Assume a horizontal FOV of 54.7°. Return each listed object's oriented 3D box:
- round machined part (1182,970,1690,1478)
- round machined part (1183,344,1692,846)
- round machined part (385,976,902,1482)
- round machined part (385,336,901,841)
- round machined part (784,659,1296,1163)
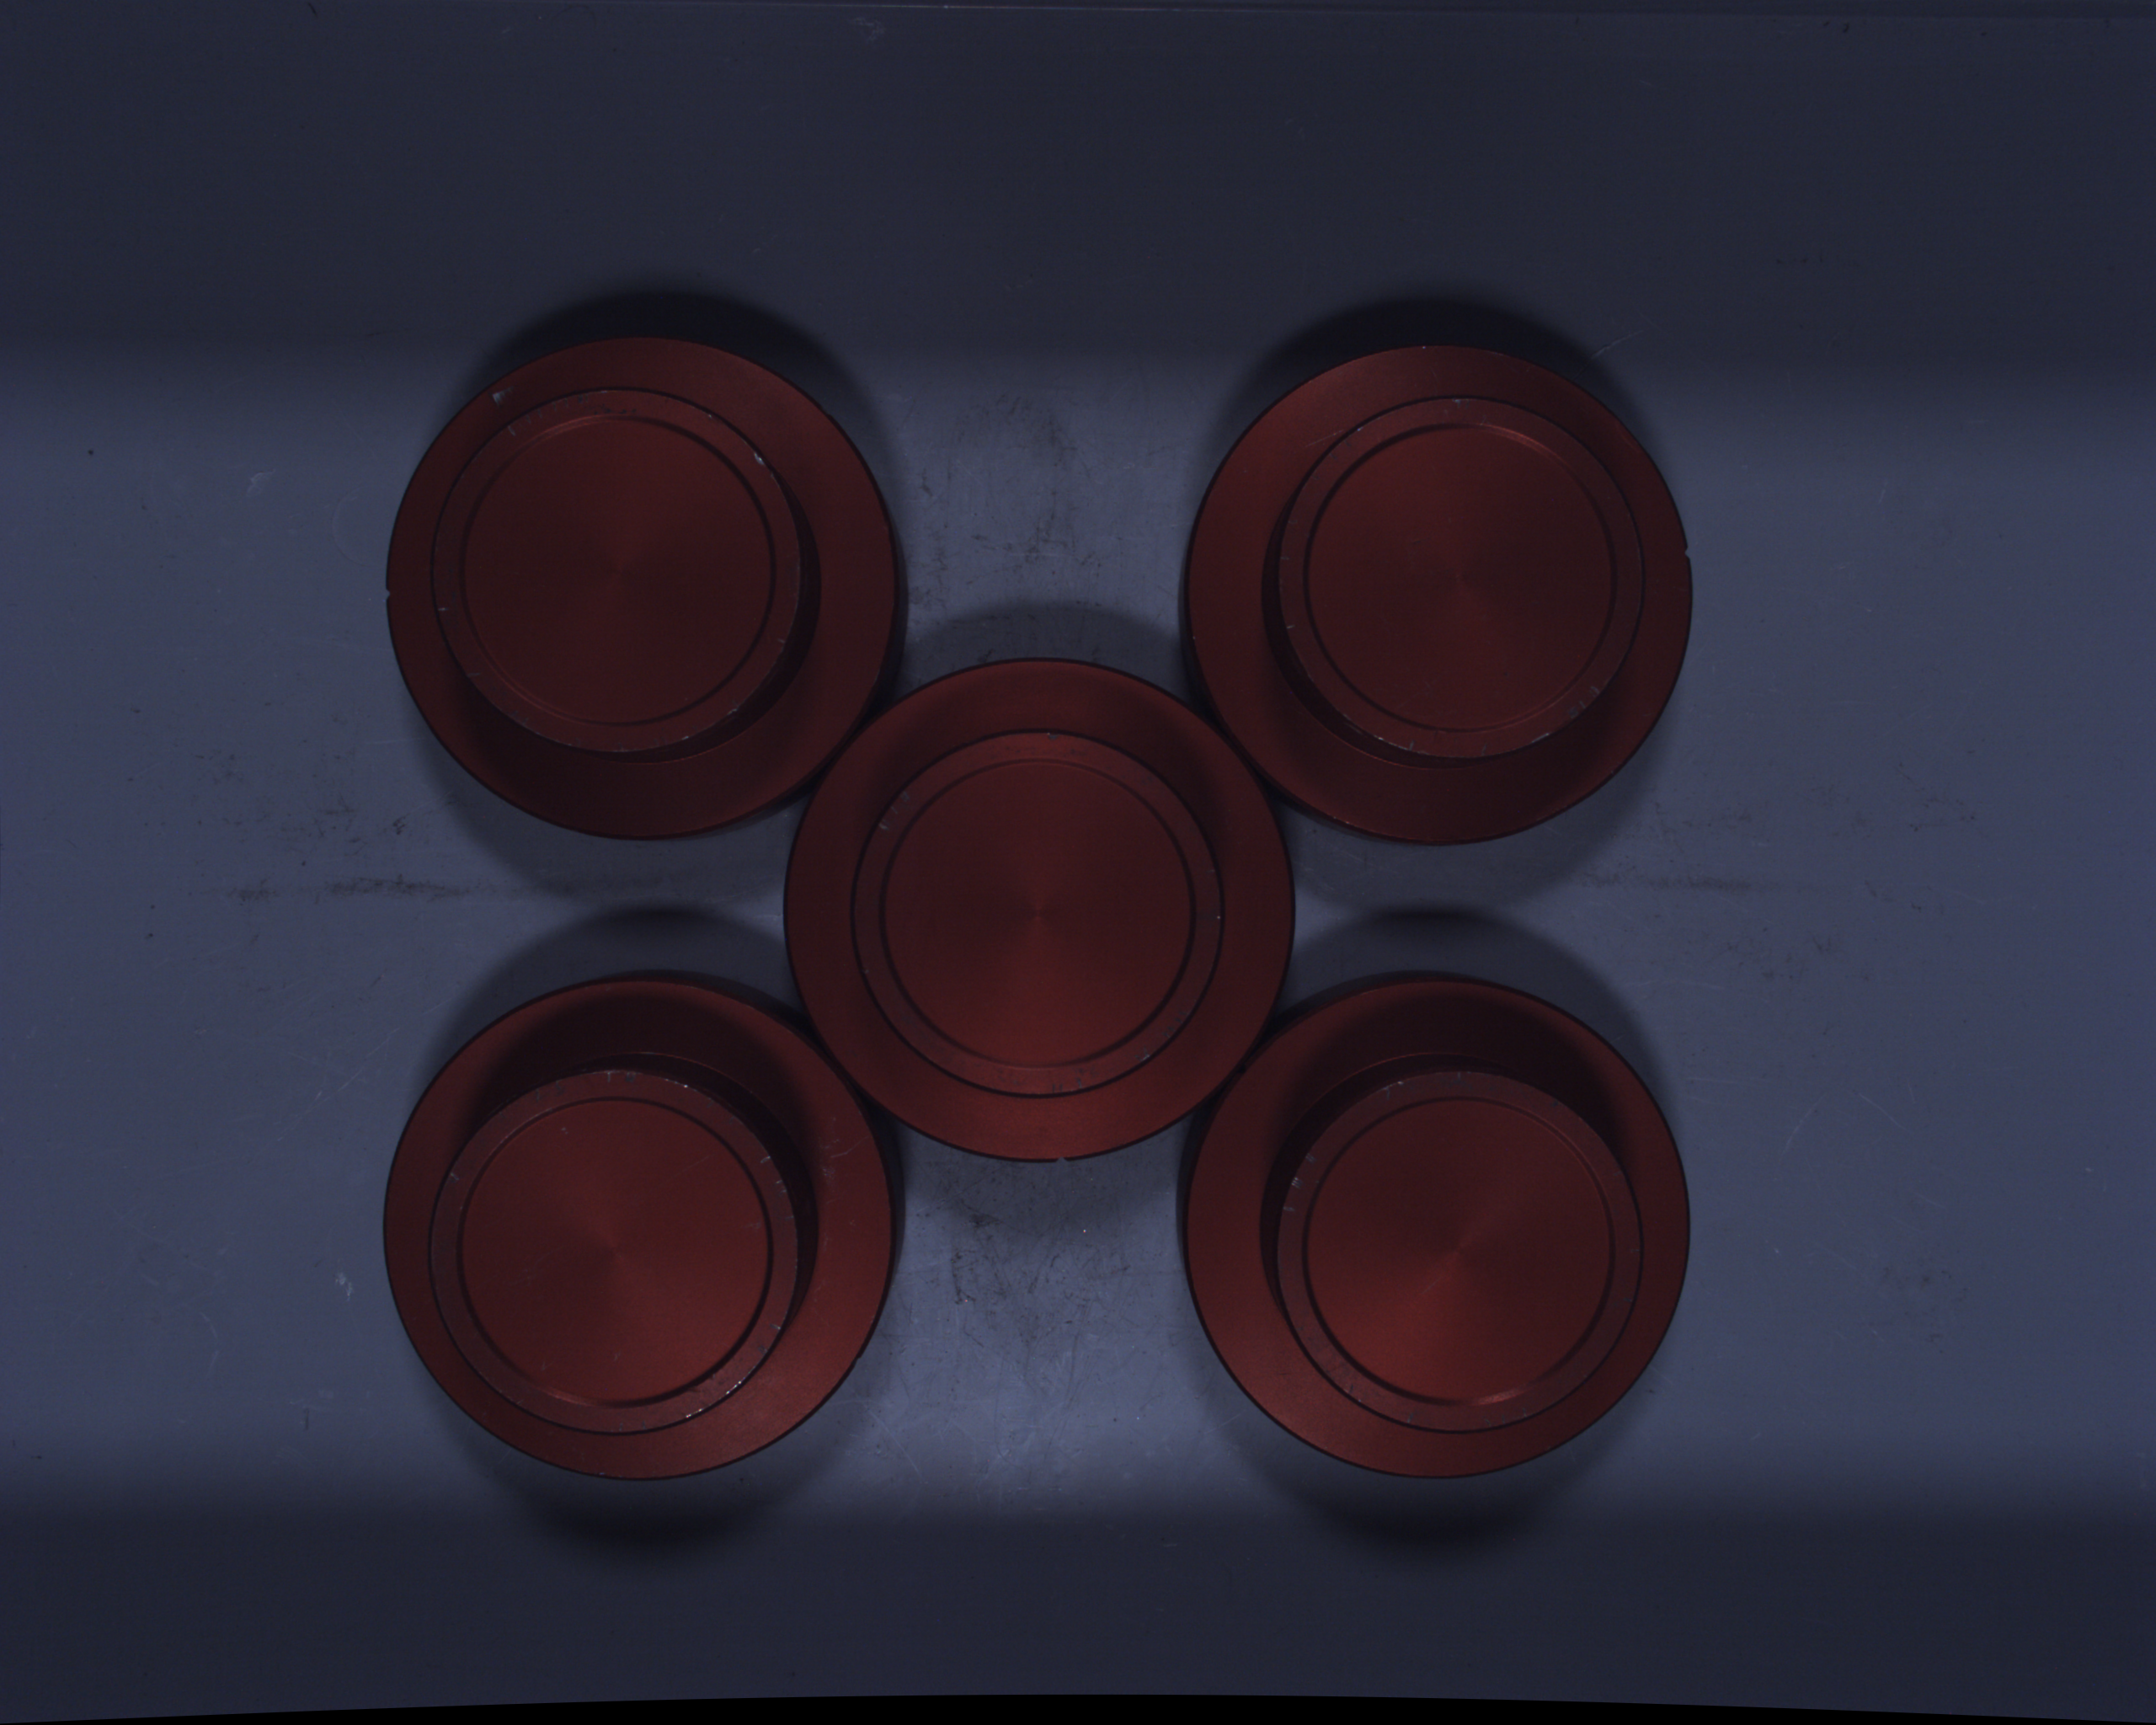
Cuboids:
[{"bbox_3d":[0.070,0.071,0.403,0.099,0.042,0.097,0,90,-1],"label":"round machined part"},{"bbox_3d":[0.070,-0.052,0.403,0.099,0.042,0.097,0,90,-1],"label":"round machined part"},{"bbox_3d":[-0.084,0.071,0.401,0.099,0.042,0.097,0,90,-1],"label":"round machined part"},{"bbox_3d":[-0.084,-0.053,0.400,0.099,0.042,0.097,0,90,-1],"label":"round machined part"},{"bbox_3d":[-0.007,0.009,0.401,0.099,0.042,0.097,0,90,-1],"label":"round machined part"}]
